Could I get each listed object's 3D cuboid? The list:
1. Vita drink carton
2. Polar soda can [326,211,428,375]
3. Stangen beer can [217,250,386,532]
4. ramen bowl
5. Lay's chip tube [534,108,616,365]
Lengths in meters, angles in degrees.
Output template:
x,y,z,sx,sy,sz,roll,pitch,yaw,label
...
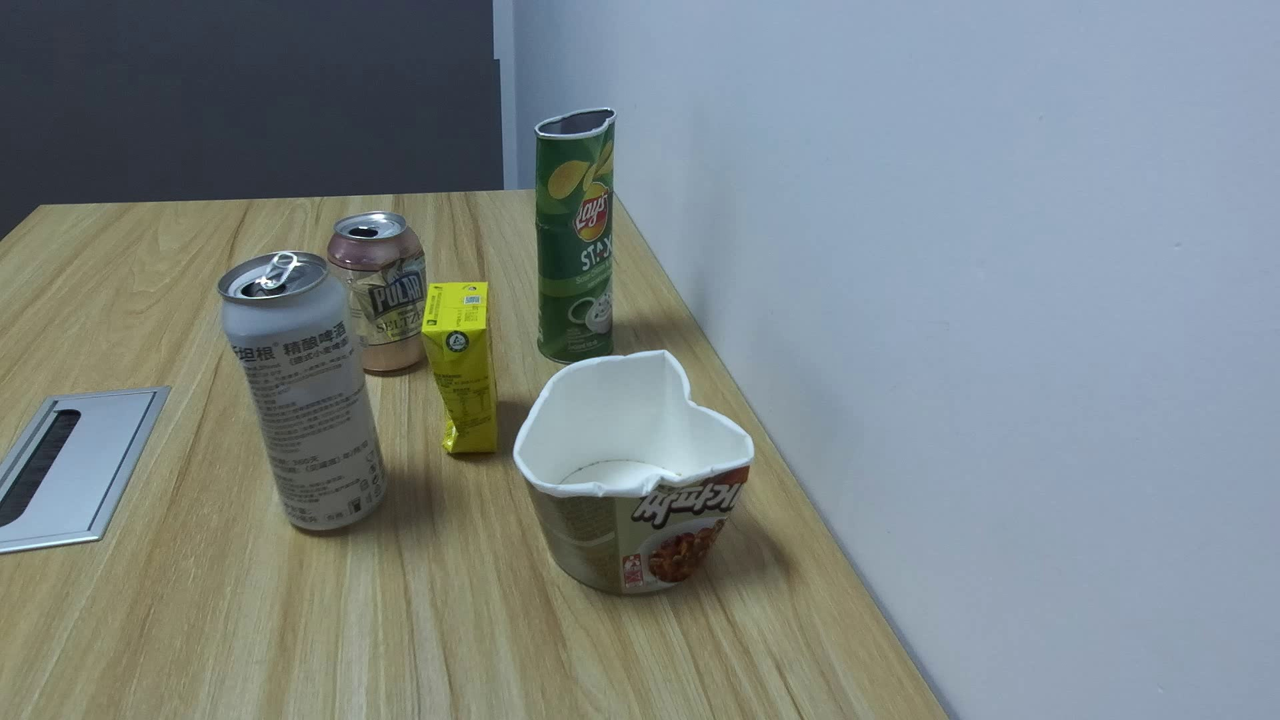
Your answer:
x,y,z,sx,sy,sz,roll,pitch,yaw,label
-0.125,0.009,0.501,0.043,0.109,0.076,-3,35,-8,Vita drink carton
-0.214,-0.053,0.578,0.074,0.122,0.067,0,32,-10,Polar soda can
-0.197,0.022,0.415,0.069,0.173,0.070,22,38,27,Stangen beer can
-0.012,0.071,0.428,0.134,0.097,0.113,-15,40,-27,ramen bowl
-0.052,-0.096,0.582,0.069,0.199,0.074,-4,35,-10,Lay's chip tube
